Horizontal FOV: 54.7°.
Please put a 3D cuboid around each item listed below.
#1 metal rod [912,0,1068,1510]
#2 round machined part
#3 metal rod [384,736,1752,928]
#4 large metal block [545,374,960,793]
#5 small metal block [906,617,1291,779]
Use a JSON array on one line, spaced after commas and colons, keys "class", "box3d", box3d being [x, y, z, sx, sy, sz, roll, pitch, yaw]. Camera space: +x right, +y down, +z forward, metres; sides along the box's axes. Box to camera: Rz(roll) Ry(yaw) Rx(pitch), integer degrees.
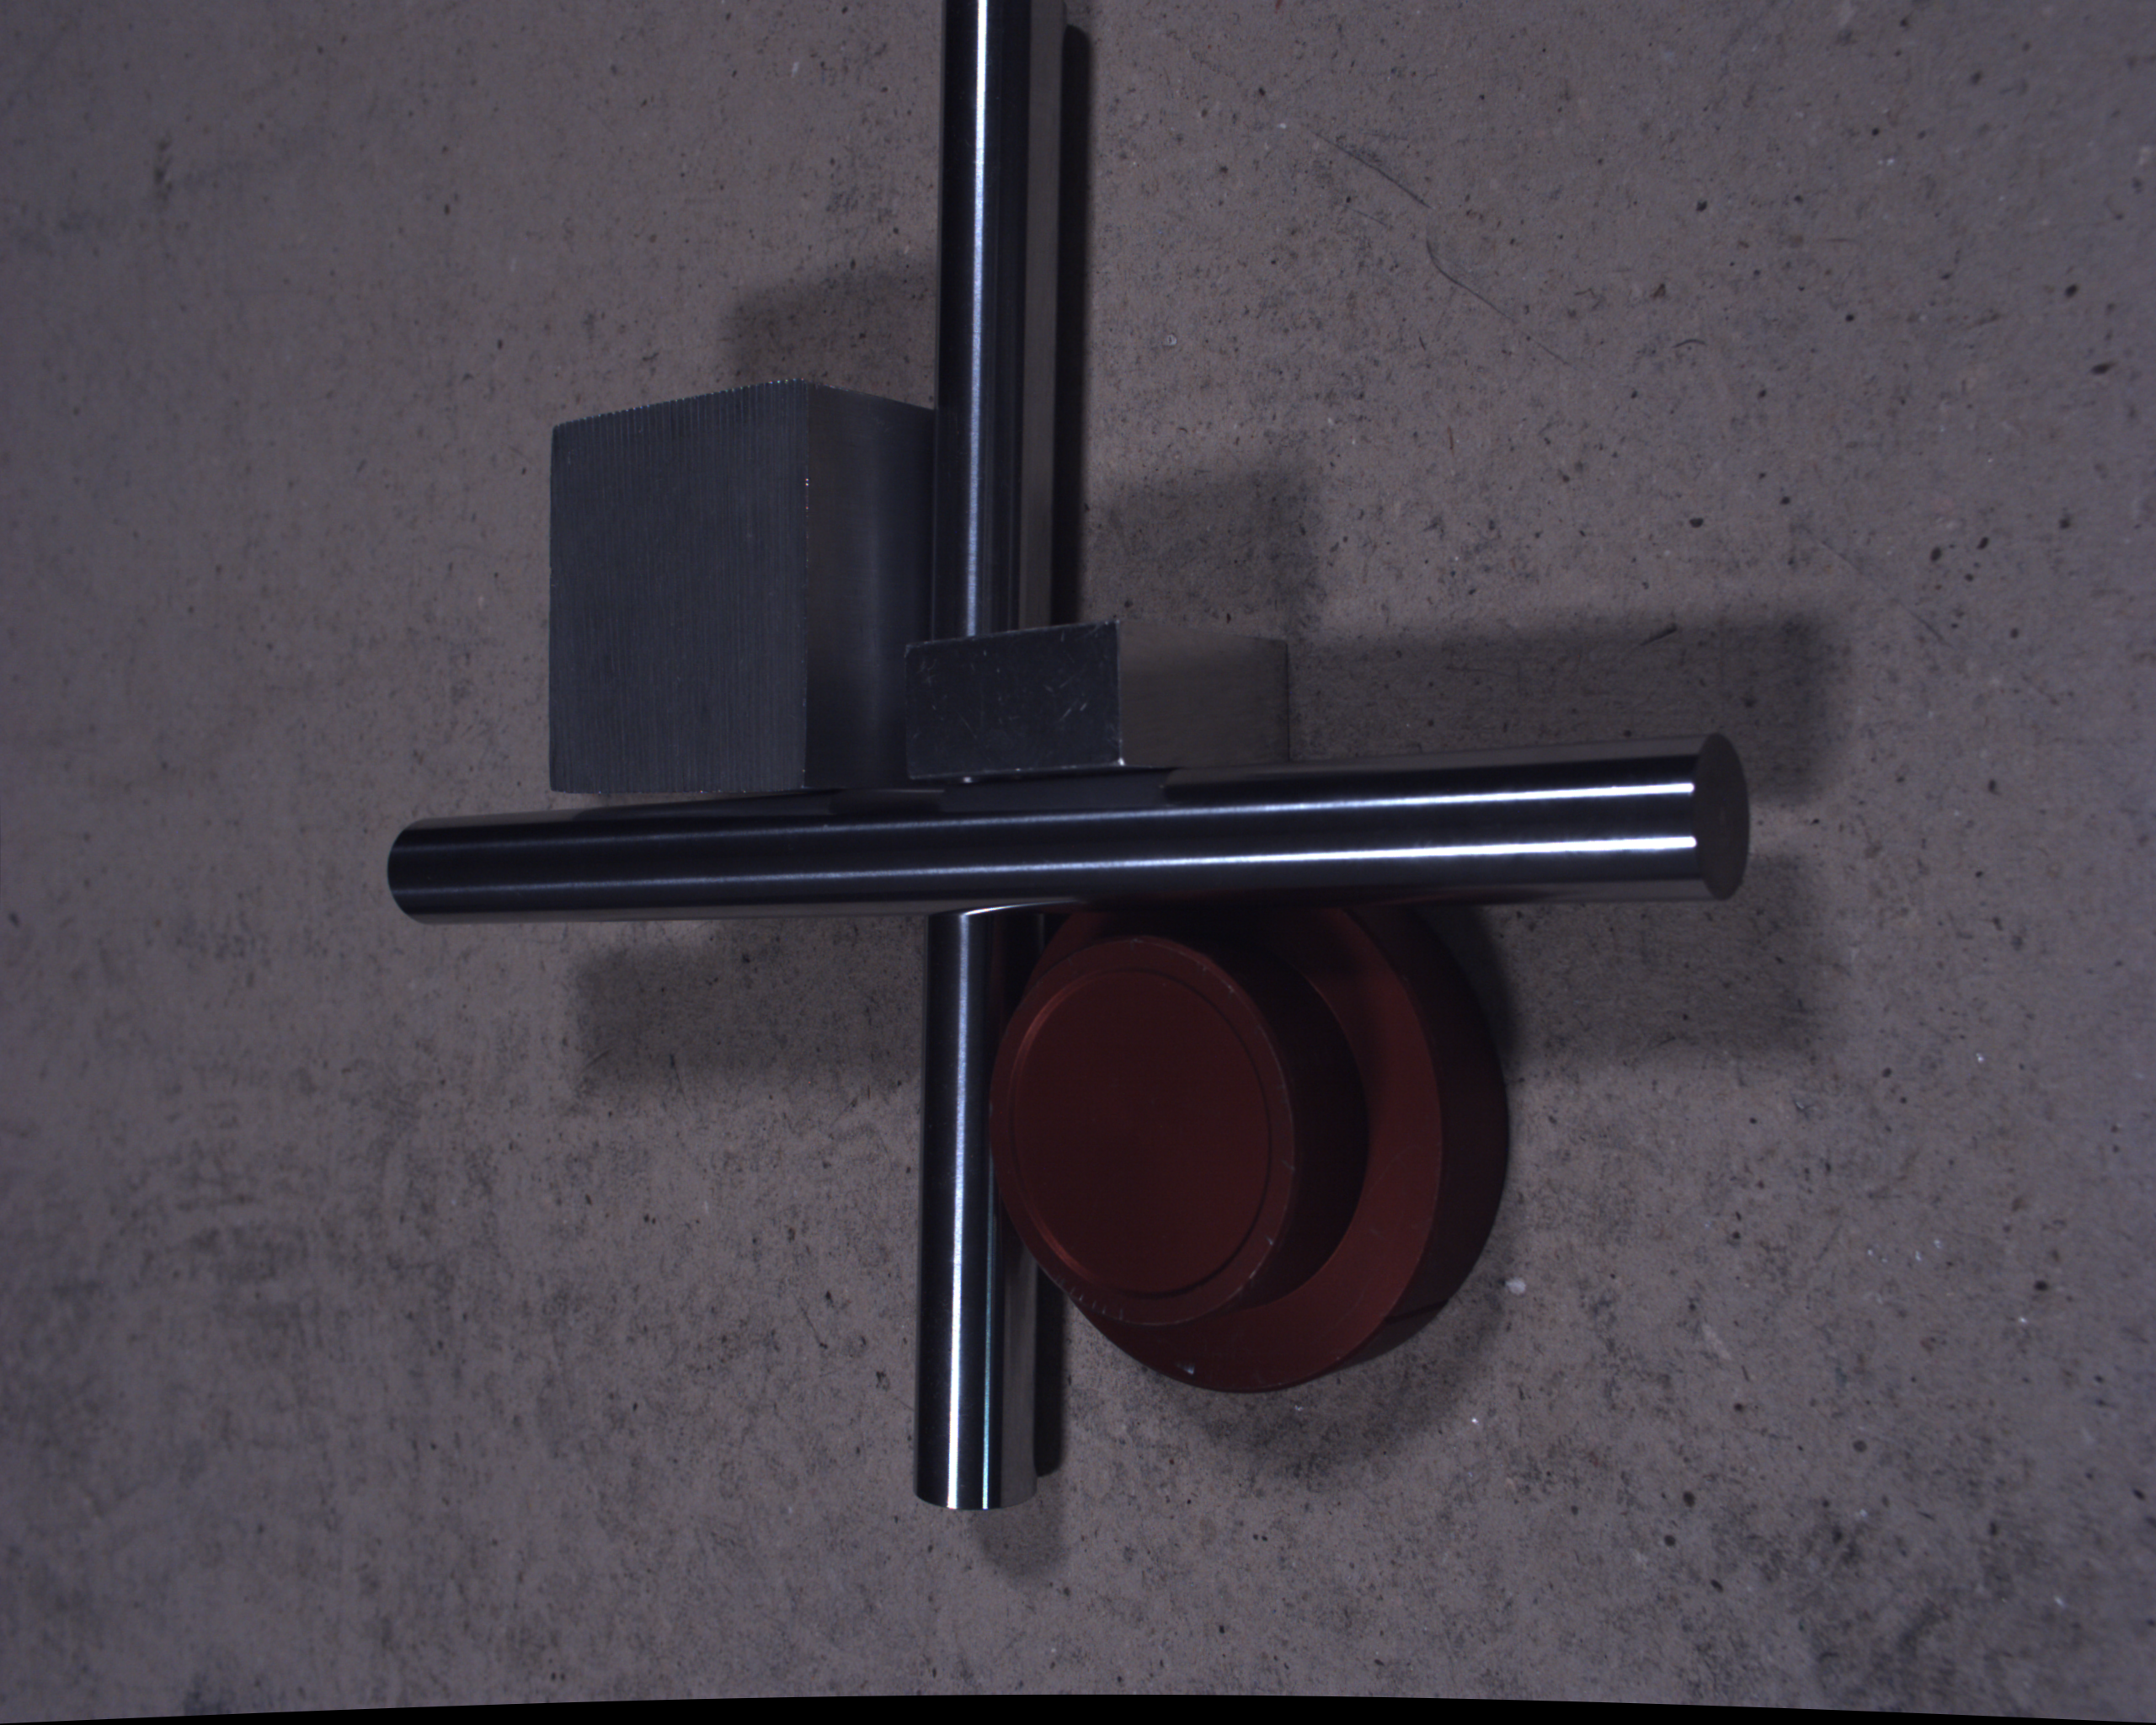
[{"class": "metal rod", "box3d": [-0.018, -0.022, 0.419, 0.025, 0.025, 0.298, 2, 91, 39]}, {"class": "round machined part", "box3d": [0.022, 0.047, 0.374, 0.098, 0.042, 0.097, 0, 90, 39]}, {"class": "metal rod", "box3d": [-0.027, -0.002, 0.394, 0.300, 0.025, 0.025, -2, 89, 35]}, {"class": "large metal block", "box3d": [-0.067, -0.054, 0.442, 0.080, 0.050, 0.079, 1, 91, 39]}, {"class": "small metal block", "box3d": [0.004, -0.028, 0.385, 0.050, 0.050, 0.025, -2, 89, 39]}]
